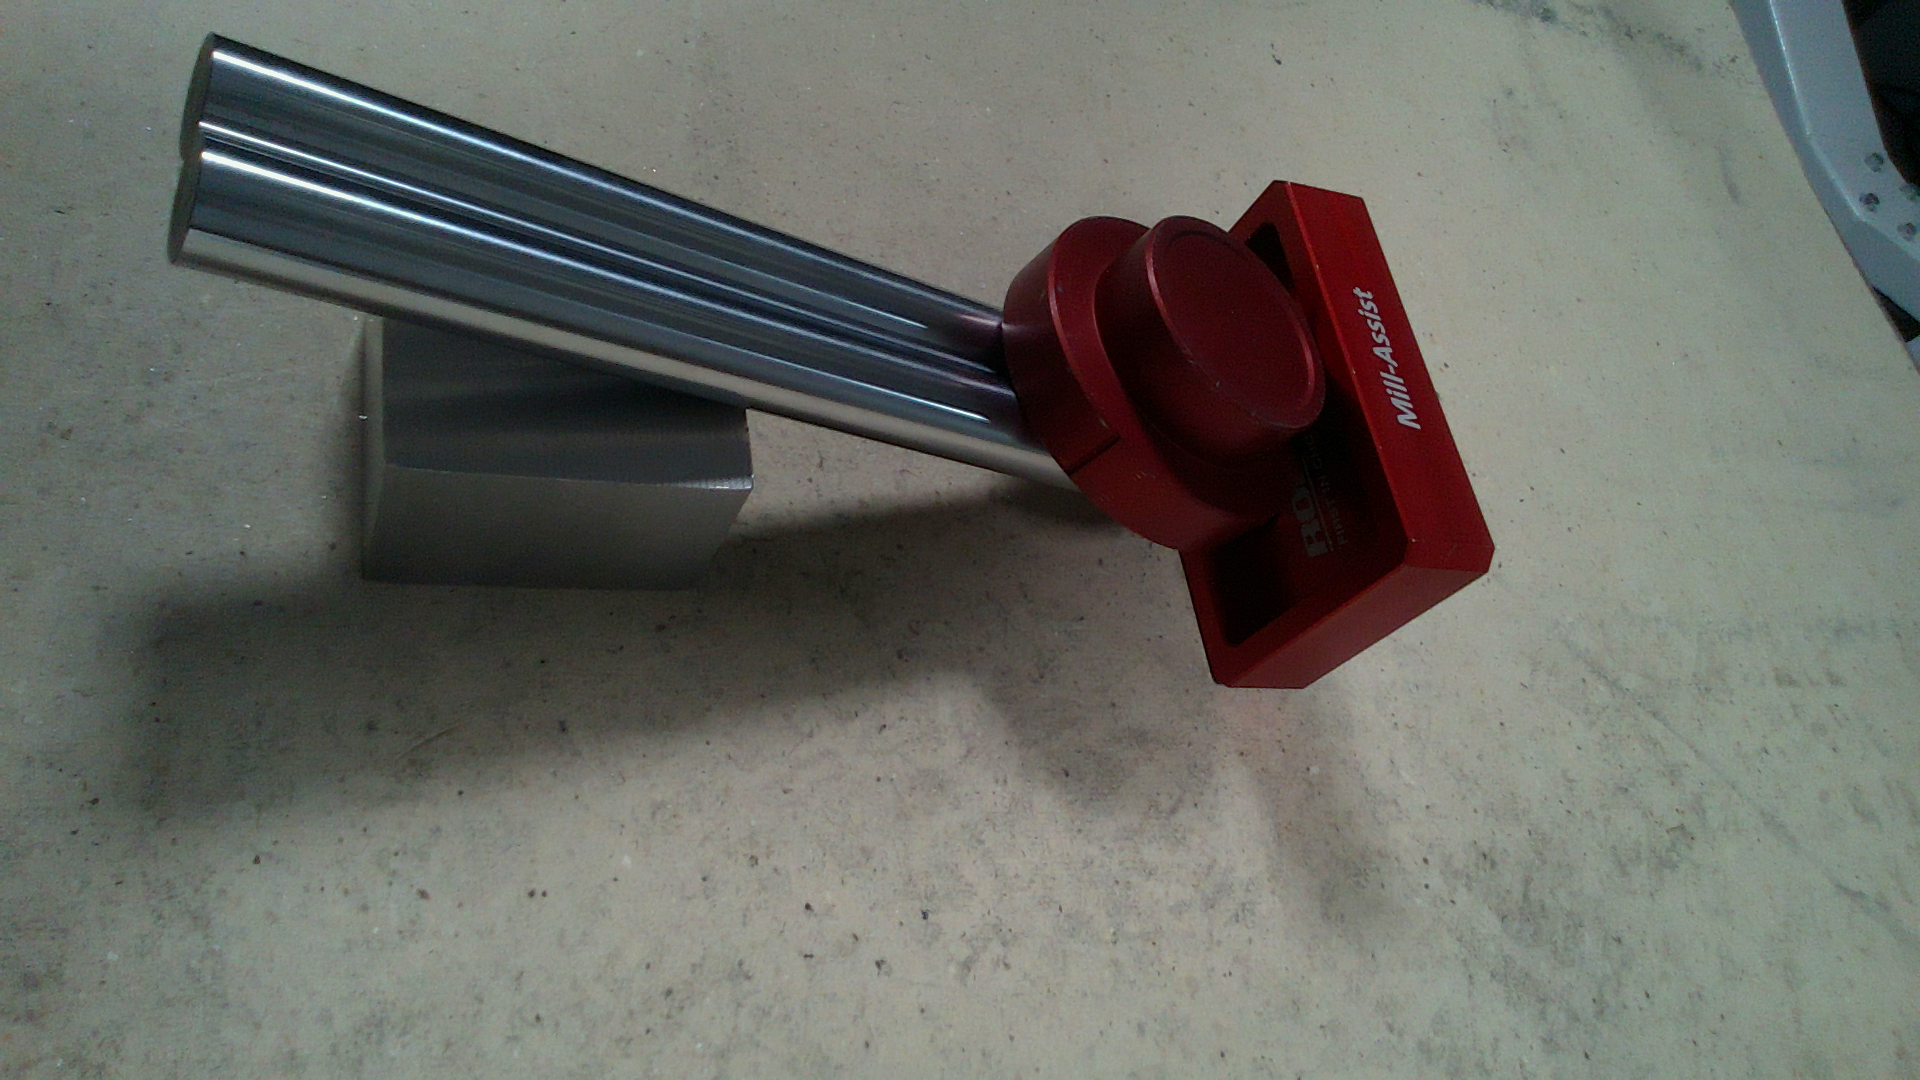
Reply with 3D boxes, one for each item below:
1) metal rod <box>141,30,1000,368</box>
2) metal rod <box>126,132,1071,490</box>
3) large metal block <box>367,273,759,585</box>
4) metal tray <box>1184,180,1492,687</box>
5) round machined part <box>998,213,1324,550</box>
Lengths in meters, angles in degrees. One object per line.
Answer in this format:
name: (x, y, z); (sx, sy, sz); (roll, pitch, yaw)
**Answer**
metal rod: (-0.035, -0.063, 0.352); (0.301, 0.025, 0.025); (10, 56, -38)
metal rod: (-0.030, -0.039, 0.340); (0.301, 0.025, 0.025); (11, 56, -37)
large metal block: (-0.100, -0.037, 0.338); (0.080, 0.050, 0.080); (3, 60, -27)
metal tray: (0.100, -0.031, 0.420); (0.030, 0.090, 0.130); (4, 60, -26)
round machined part: (0.062, -0.050, 0.380); (0.098, 0.042, 0.098); (21, 52, -29)
